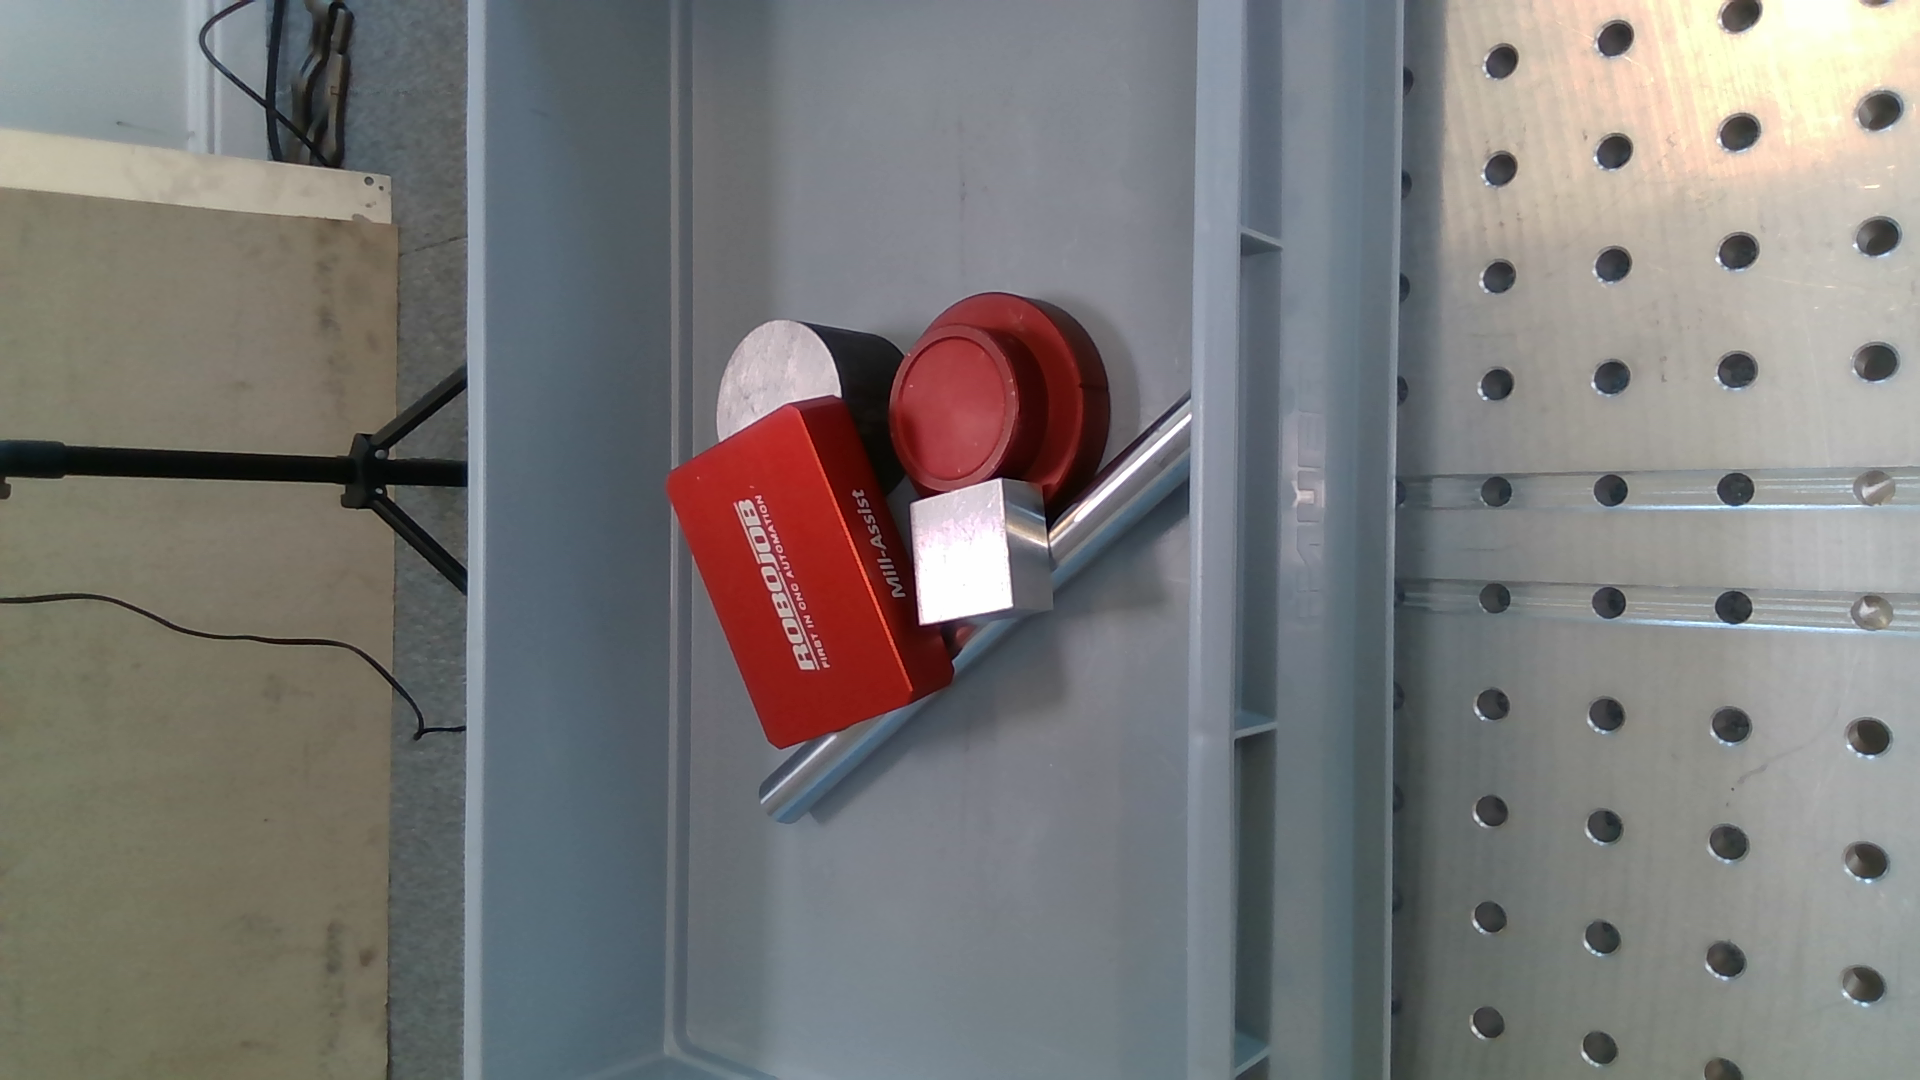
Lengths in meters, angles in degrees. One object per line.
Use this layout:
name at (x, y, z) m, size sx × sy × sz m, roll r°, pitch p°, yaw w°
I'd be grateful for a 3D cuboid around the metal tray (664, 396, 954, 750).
metal tray at (-0.066, 0.015, 0.583) m, size 0.090 × 0.030 × 0.130 m, roll -23°, pitch 88°, yaw 38°

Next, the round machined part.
round machined part at (0.009, -0.053, 0.560) m, size 0.098 × 0.042 × 0.098 m, roll -1°, pitch 88°, yaw 40°

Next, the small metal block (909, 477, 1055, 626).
small metal block at (0.008, 0.006, 0.543) m, size 0.050 × 0.025 × 0.050 m, roll -14°, pitch 76°, yaw 42°

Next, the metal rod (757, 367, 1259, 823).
metal rod at (0.007, 0.036, 0.576) m, size 0.301 × 0.025 × 0.025 m, roll -44°, pitch 64°, yaw 32°

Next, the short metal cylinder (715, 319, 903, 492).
short metal cylinder at (-0.064, -0.056, 0.618) m, size 0.080 × 0.050 × 0.080 m, roll 0°, pitch 91°, yaw 40°
